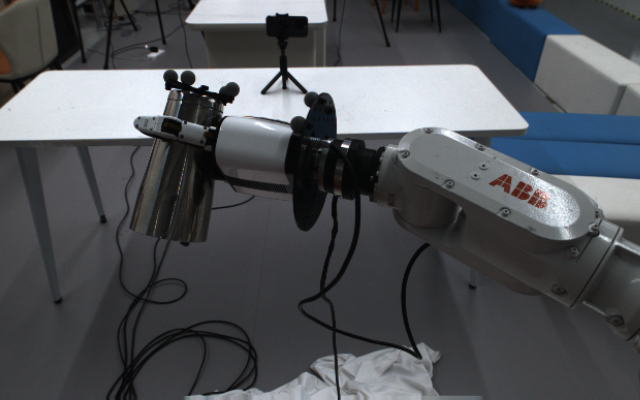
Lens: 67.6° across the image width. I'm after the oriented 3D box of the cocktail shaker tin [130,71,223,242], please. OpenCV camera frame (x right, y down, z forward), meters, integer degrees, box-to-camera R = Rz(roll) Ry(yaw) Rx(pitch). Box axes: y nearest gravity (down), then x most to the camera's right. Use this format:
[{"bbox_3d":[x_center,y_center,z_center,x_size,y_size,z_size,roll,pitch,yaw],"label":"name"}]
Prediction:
[{"bbox_3d":[-0.164,-0.043,0.591,0.093,0.170,0.093,12,1,0],"label":"cocktail shaker tin"}]
